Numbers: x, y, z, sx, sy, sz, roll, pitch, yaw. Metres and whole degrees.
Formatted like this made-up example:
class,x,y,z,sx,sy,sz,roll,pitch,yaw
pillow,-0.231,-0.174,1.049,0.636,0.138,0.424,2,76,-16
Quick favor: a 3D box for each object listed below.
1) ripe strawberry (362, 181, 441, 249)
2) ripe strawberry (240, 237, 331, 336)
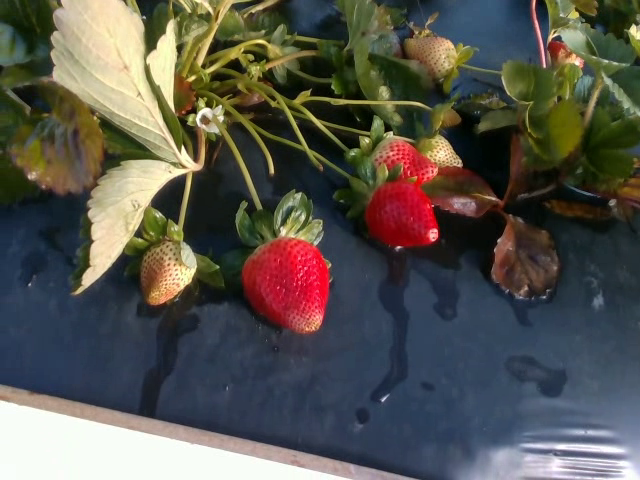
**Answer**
class,x,y,z,sx,sy,sz,roll,pitch,yaw
ripe strawberry,0.050,-0.010,0.359,0.041,0.045,0.055,41,-1,-42
ripe strawberry,-0.015,0.025,0.316,0.050,0.050,0.065,-26,37,-1
